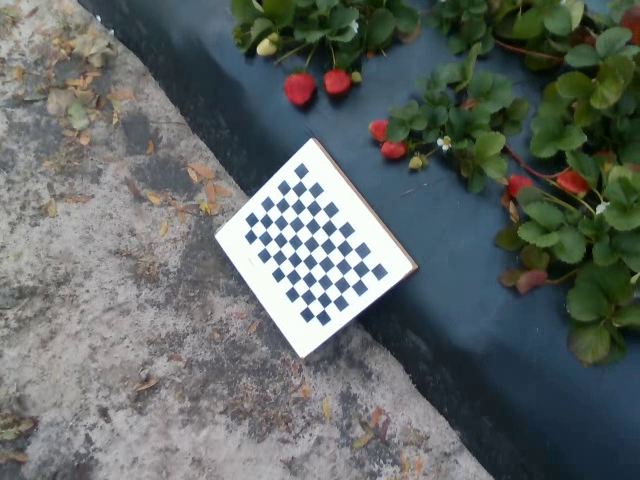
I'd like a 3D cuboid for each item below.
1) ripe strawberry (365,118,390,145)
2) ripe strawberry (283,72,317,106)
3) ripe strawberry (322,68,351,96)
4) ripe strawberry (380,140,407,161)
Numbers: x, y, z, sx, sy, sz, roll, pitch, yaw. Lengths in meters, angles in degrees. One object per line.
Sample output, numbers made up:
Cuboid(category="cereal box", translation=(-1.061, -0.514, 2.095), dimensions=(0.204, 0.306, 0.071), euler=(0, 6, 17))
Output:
Cuboid(category="ripe strawberry", translation=(0.107, -0.196, 0.983), dimensions=(0.053, 0.047, 0.039), euler=(21, 20, -8))
Cuboid(category="ripe strawberry", translation=(-0.036, -0.275, 1.022), dimensions=(0.058, 0.065, 0.043), euler=(-12, -20, 32))
Cuboid(category="ripe strawberry", translation=(0.029, -0.285, 1.017), dimensions=(0.050, 0.060, 0.051), euler=(-18, -55, 32))
Cuboid(category="ripe strawberry", translation=(0.124, -0.160, 0.962), dimensions=(0.049, 0.044, 0.041), euler=(-27, -22, -38))
